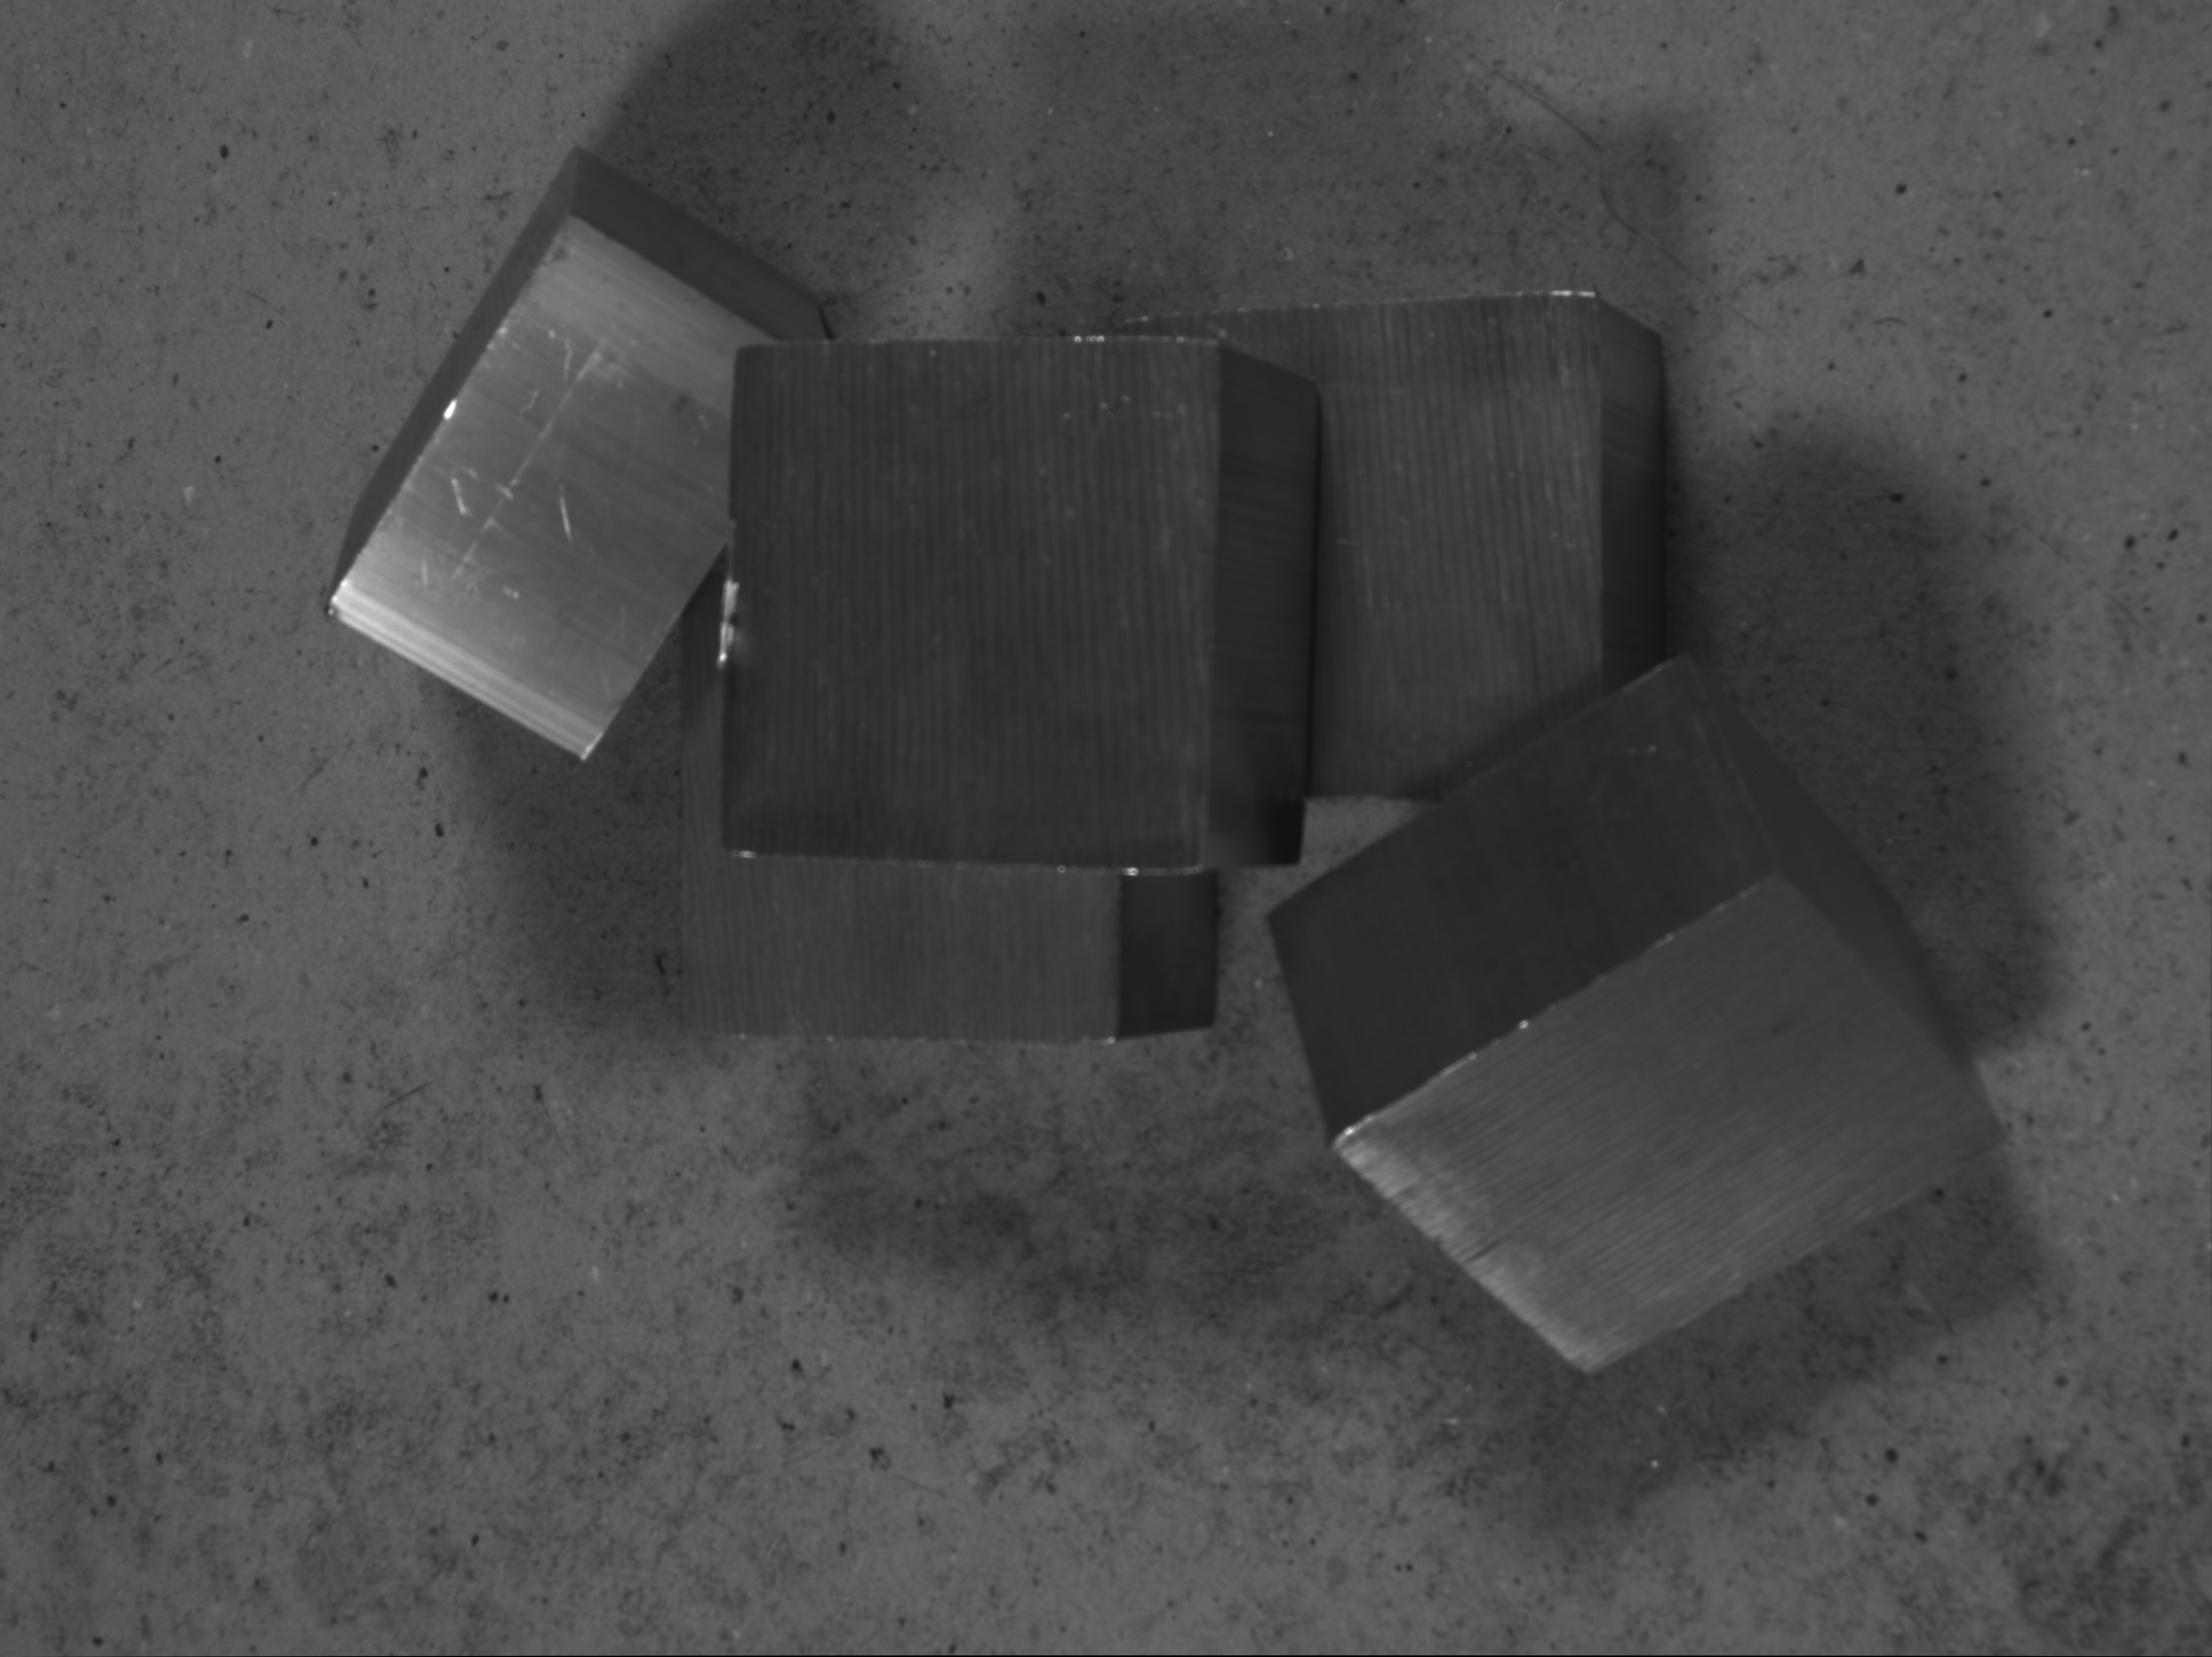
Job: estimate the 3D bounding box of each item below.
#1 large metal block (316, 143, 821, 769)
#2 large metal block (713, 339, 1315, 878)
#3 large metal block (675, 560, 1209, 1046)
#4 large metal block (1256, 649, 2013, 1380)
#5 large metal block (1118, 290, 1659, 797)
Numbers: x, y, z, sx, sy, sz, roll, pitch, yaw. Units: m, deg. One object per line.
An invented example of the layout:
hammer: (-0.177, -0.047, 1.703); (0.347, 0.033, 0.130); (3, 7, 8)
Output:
large metal block: (-0.093, -0.067, 0.641); (0.050, 0.080, 0.080); (31, 102, -16)
large metal block: (-0.014, -0.034, 0.581); (0.080, 0.050, 0.080); (2, 91, 20)
large metal block: (-0.028, -0.004, 0.639); (0.080, 0.050, 0.080); (0, 90, 20)
large metal block: (0.083, 0.031, 0.579); (0.080, 0.080, 0.050); (-33, 41, 17)
large metal block: (0.048, -0.045, 0.615); (0.080, 0.050, 0.080); (0, 90, 20)
